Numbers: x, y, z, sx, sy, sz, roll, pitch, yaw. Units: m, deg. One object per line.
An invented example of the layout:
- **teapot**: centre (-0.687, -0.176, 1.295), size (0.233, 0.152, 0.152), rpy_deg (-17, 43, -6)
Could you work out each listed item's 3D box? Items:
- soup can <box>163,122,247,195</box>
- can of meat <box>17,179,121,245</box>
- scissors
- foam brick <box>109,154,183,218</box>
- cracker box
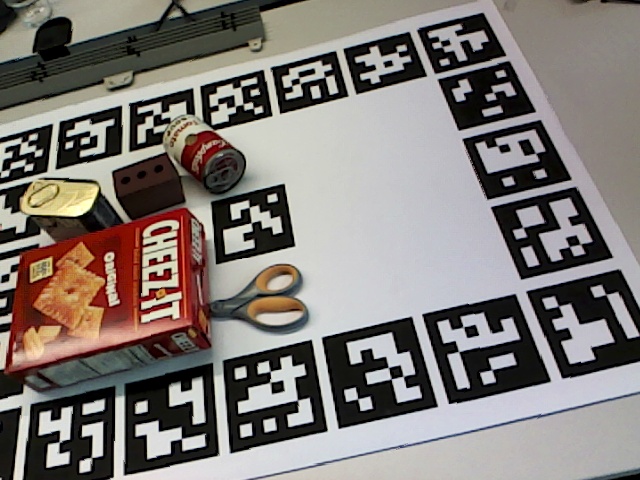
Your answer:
- **soup can**: centre (-0.158, -0.113, 0.842), size (0.103, 0.067, 0.068), rpy_deg (33, 71, 33)
- **can of meat**: centre (-0.323, -0.031, 0.806), size (0.102, 0.083, 0.058), rpy_deg (-2, 59, 11)
- **scissors**: centre (-0.126, 0.087, 0.720), size (0.203, 0.016, 0.088), rpy_deg (-18, 57, 1)
- **foam brick**: centre (-0.233, -0.070, 0.833), size (0.078, 0.051, 0.053), rpy_deg (-22, 58, -2)
- **cracker box**: centre (-0.250, 0.069, 0.721), size (0.214, 0.071, 0.165), rpy_deg (-20, 56, 4)
